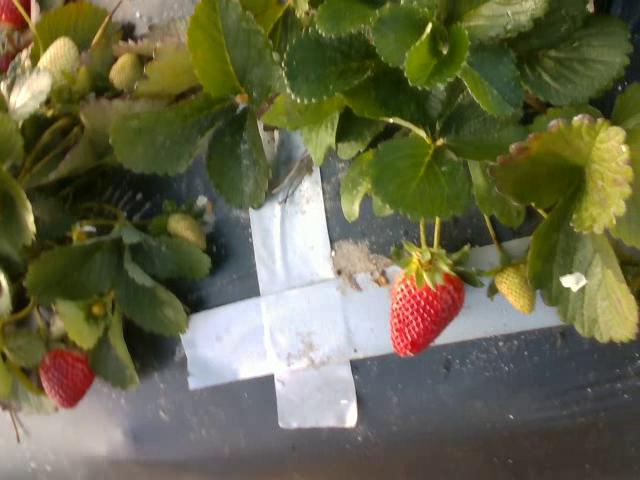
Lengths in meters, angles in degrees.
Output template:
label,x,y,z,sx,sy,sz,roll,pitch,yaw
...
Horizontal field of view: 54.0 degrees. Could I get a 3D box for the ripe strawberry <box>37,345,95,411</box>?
label,x,y,z,sx,sy,sz,roll,pitch,yaw
ripe strawberry,-0.081,0.047,0.197,0.020,0.023,0.018,1,-14,-45

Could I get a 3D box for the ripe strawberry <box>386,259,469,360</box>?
label,x,y,z,sx,sy,sz,roll,pitch,yaw
ripe strawberry,0.026,0.019,0.153,0.023,0.026,0.020,6,-14,44
